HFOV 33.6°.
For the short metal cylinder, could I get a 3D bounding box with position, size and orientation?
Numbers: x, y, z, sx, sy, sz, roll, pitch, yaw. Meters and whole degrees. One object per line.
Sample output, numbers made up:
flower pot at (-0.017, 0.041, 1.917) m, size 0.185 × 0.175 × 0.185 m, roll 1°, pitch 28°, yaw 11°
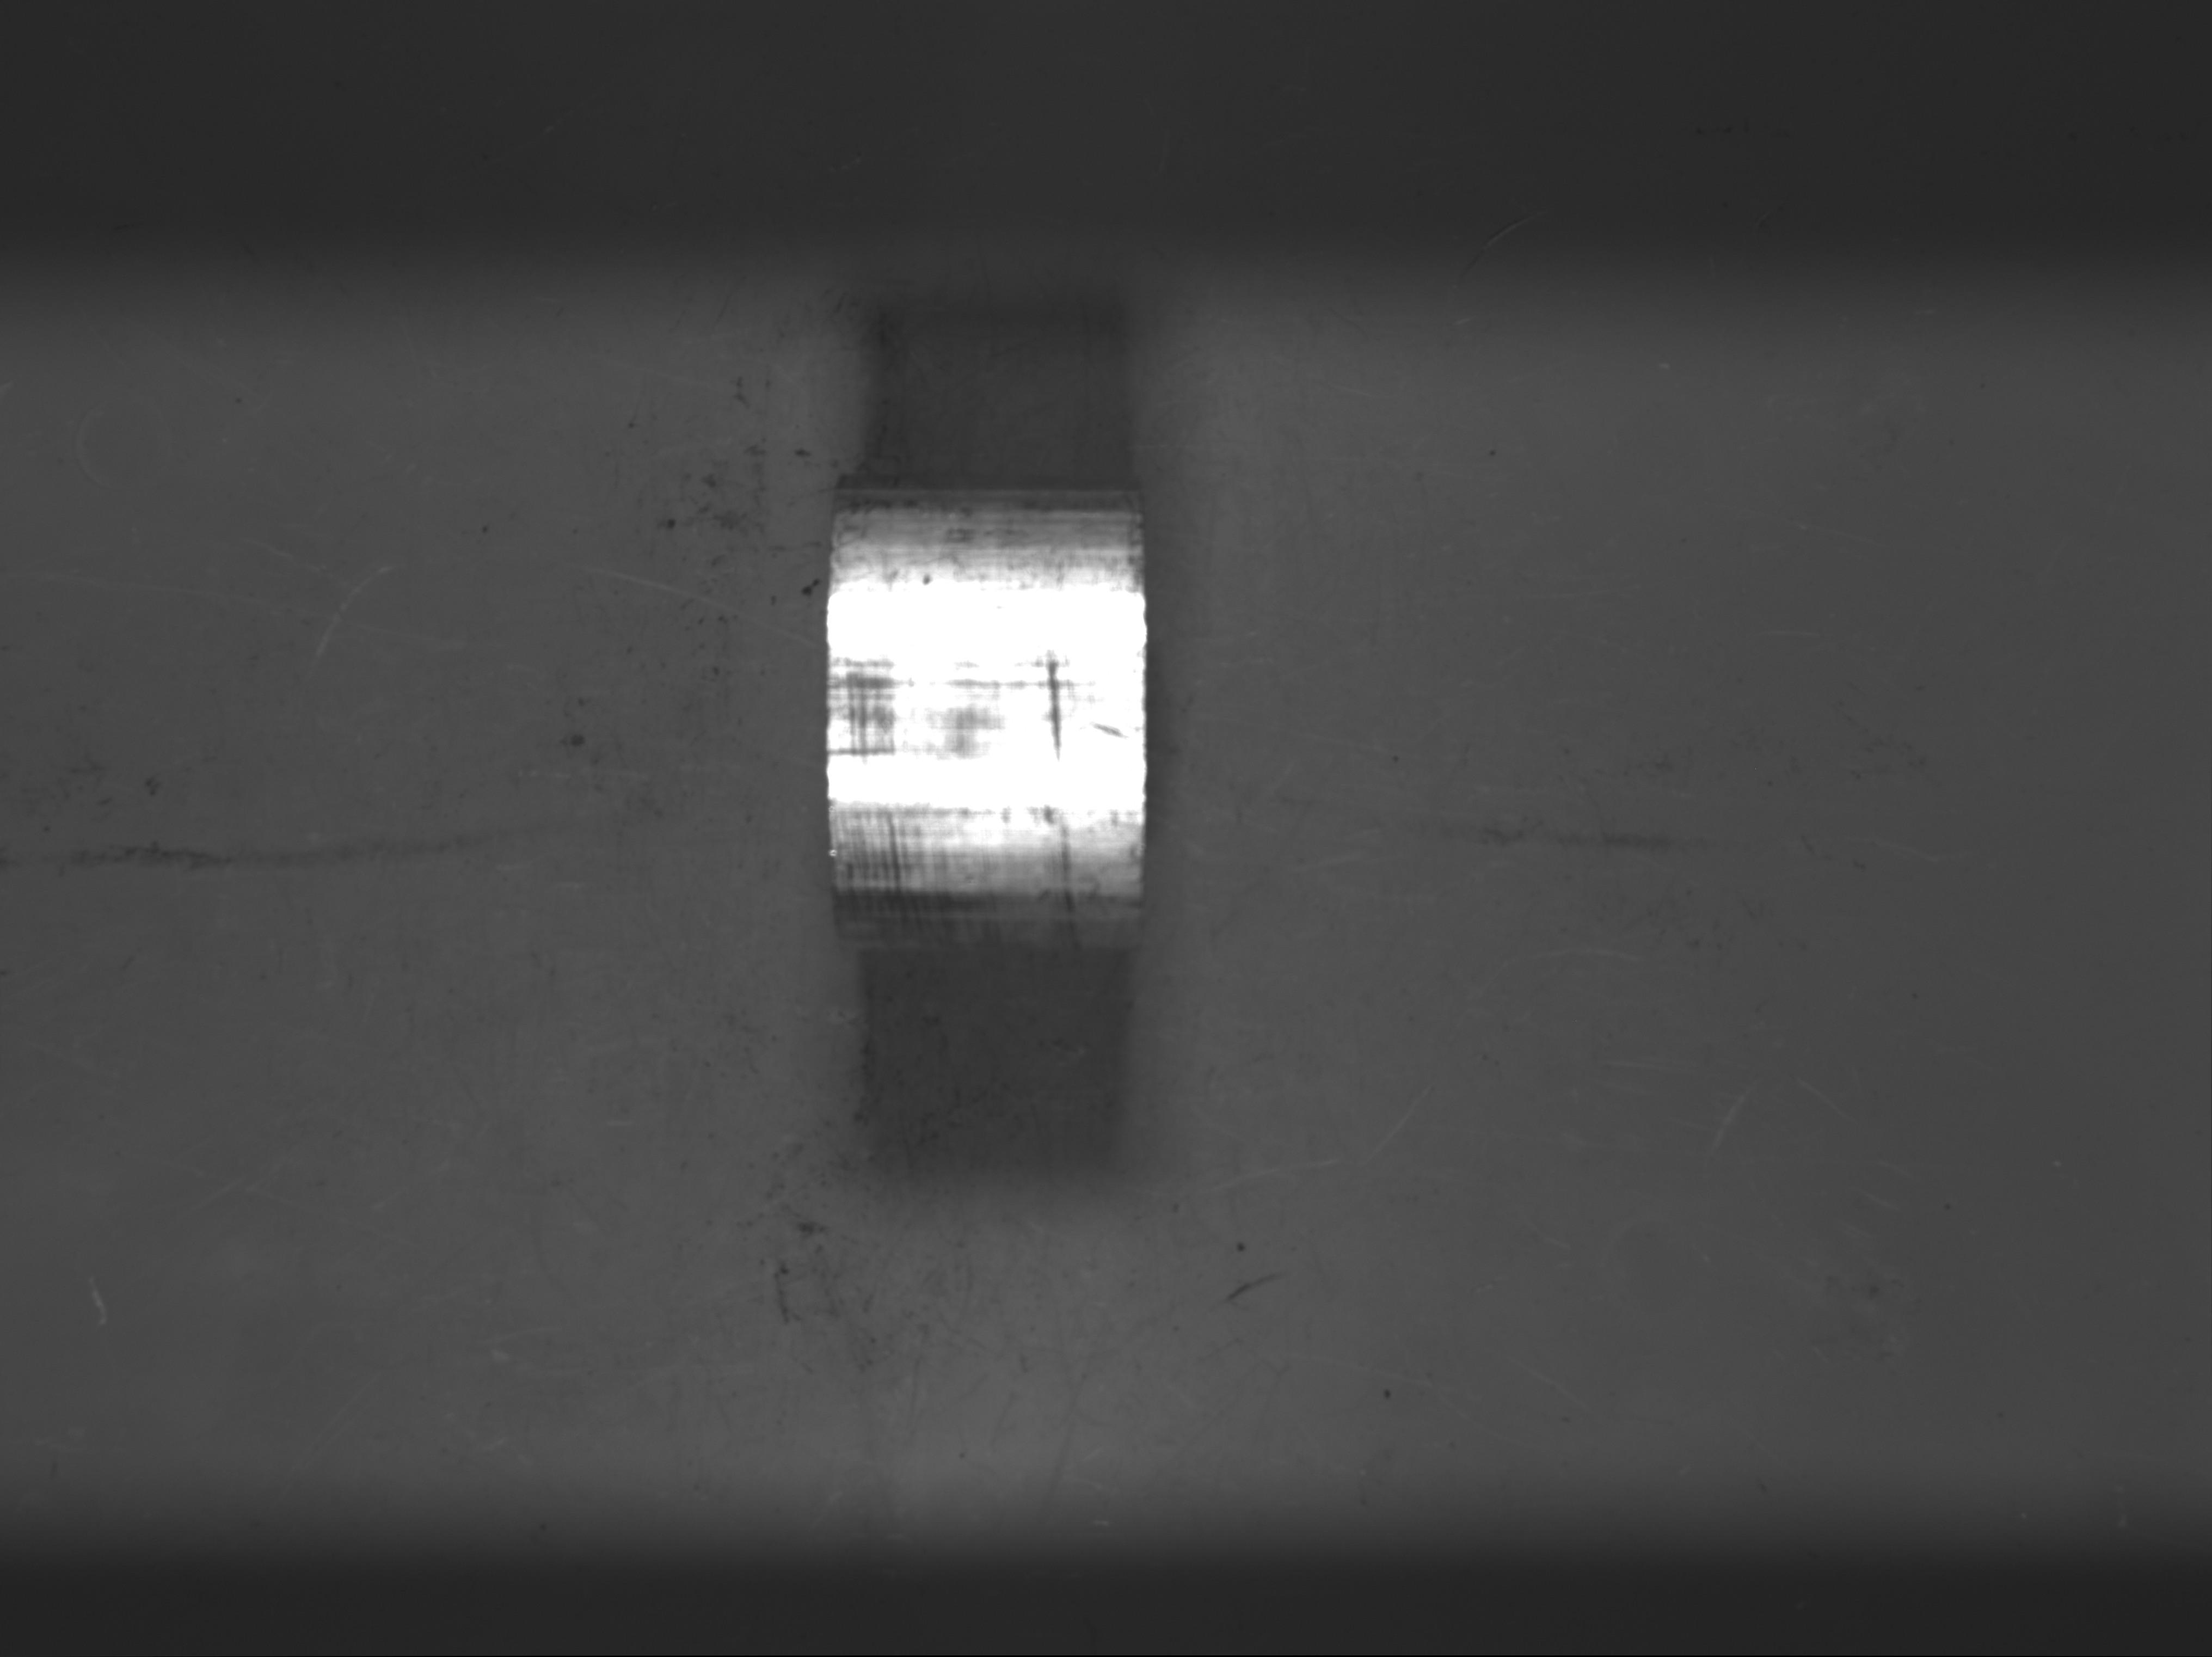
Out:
short metal cylinder at (-0.017, -0.019, 0.616) m, size 0.050 × 0.080 × 0.080 m, roll 0°, pitch 90°, yaw 0°
